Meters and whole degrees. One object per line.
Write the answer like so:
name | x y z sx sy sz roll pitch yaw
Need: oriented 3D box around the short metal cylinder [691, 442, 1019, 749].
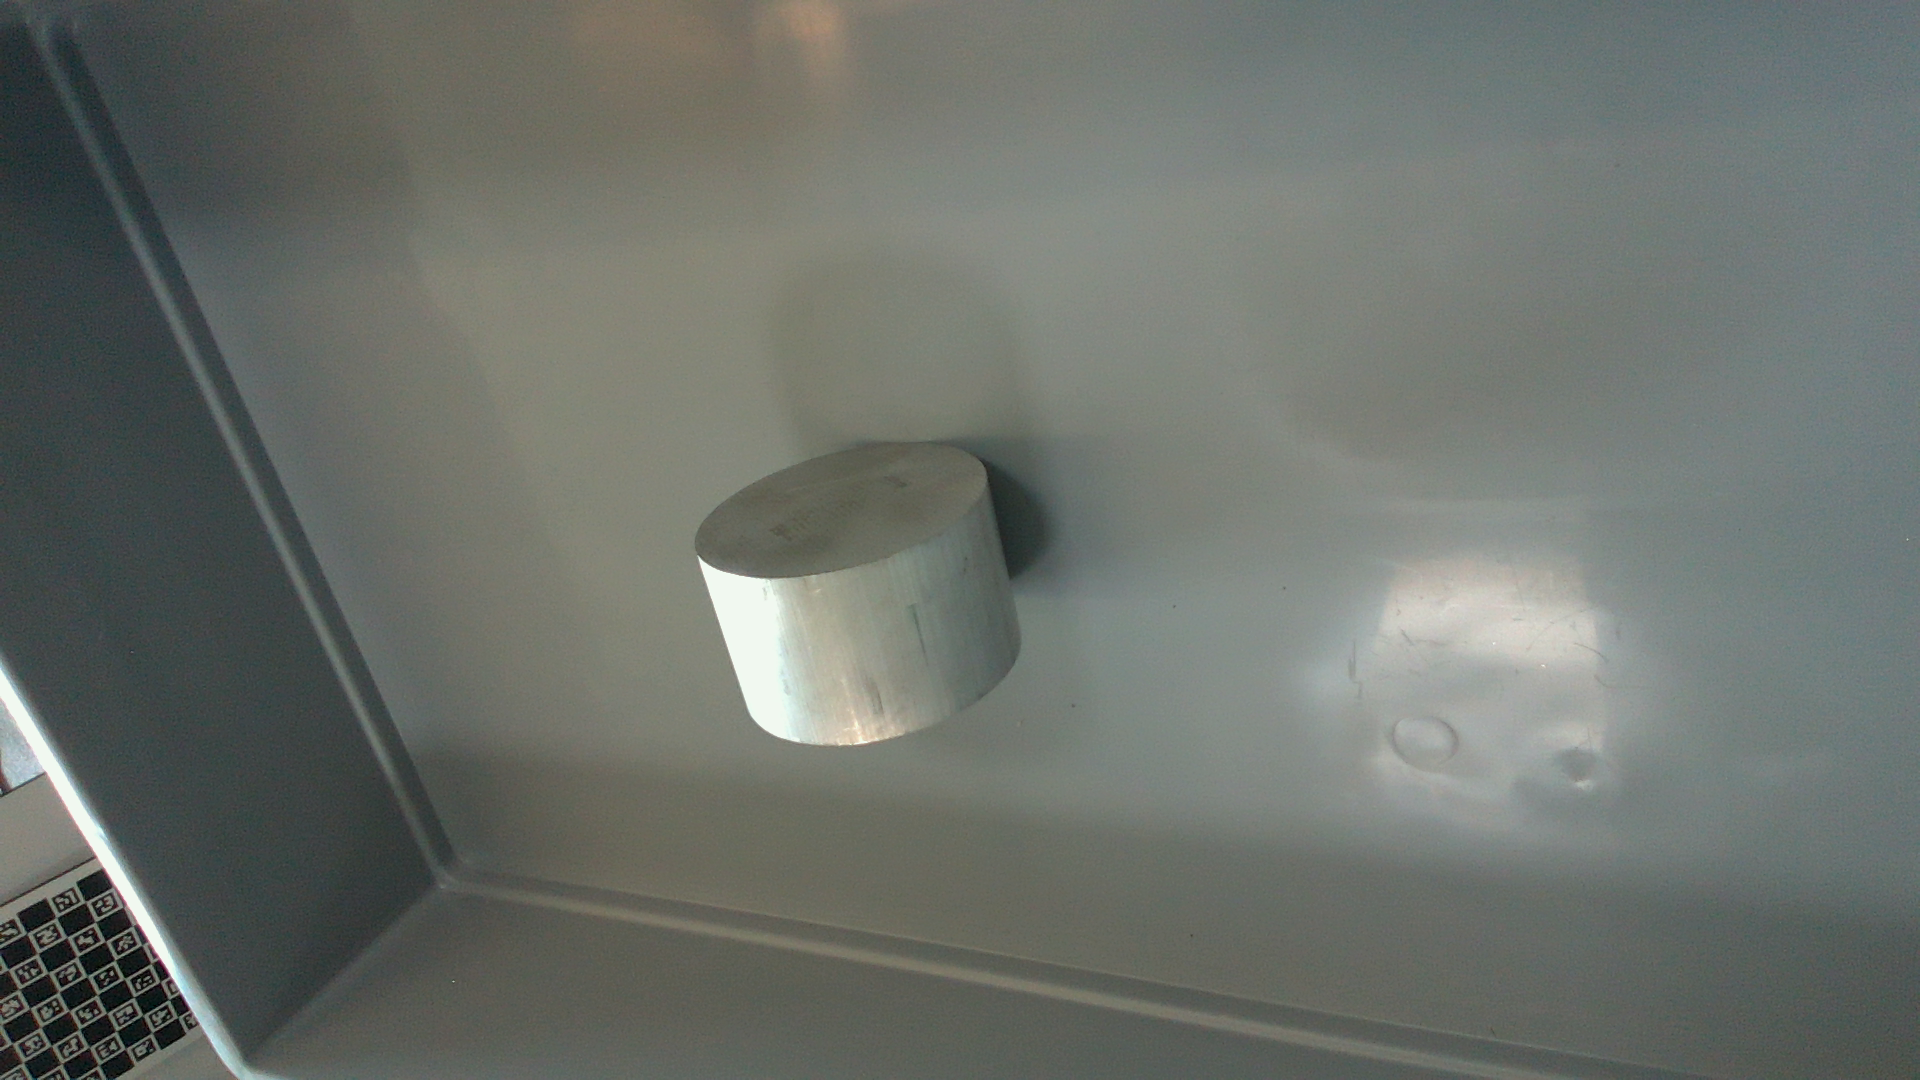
short metal cylinder | -0.027 0.013 0.377 0.080 0.080 0.050 2 119 27
